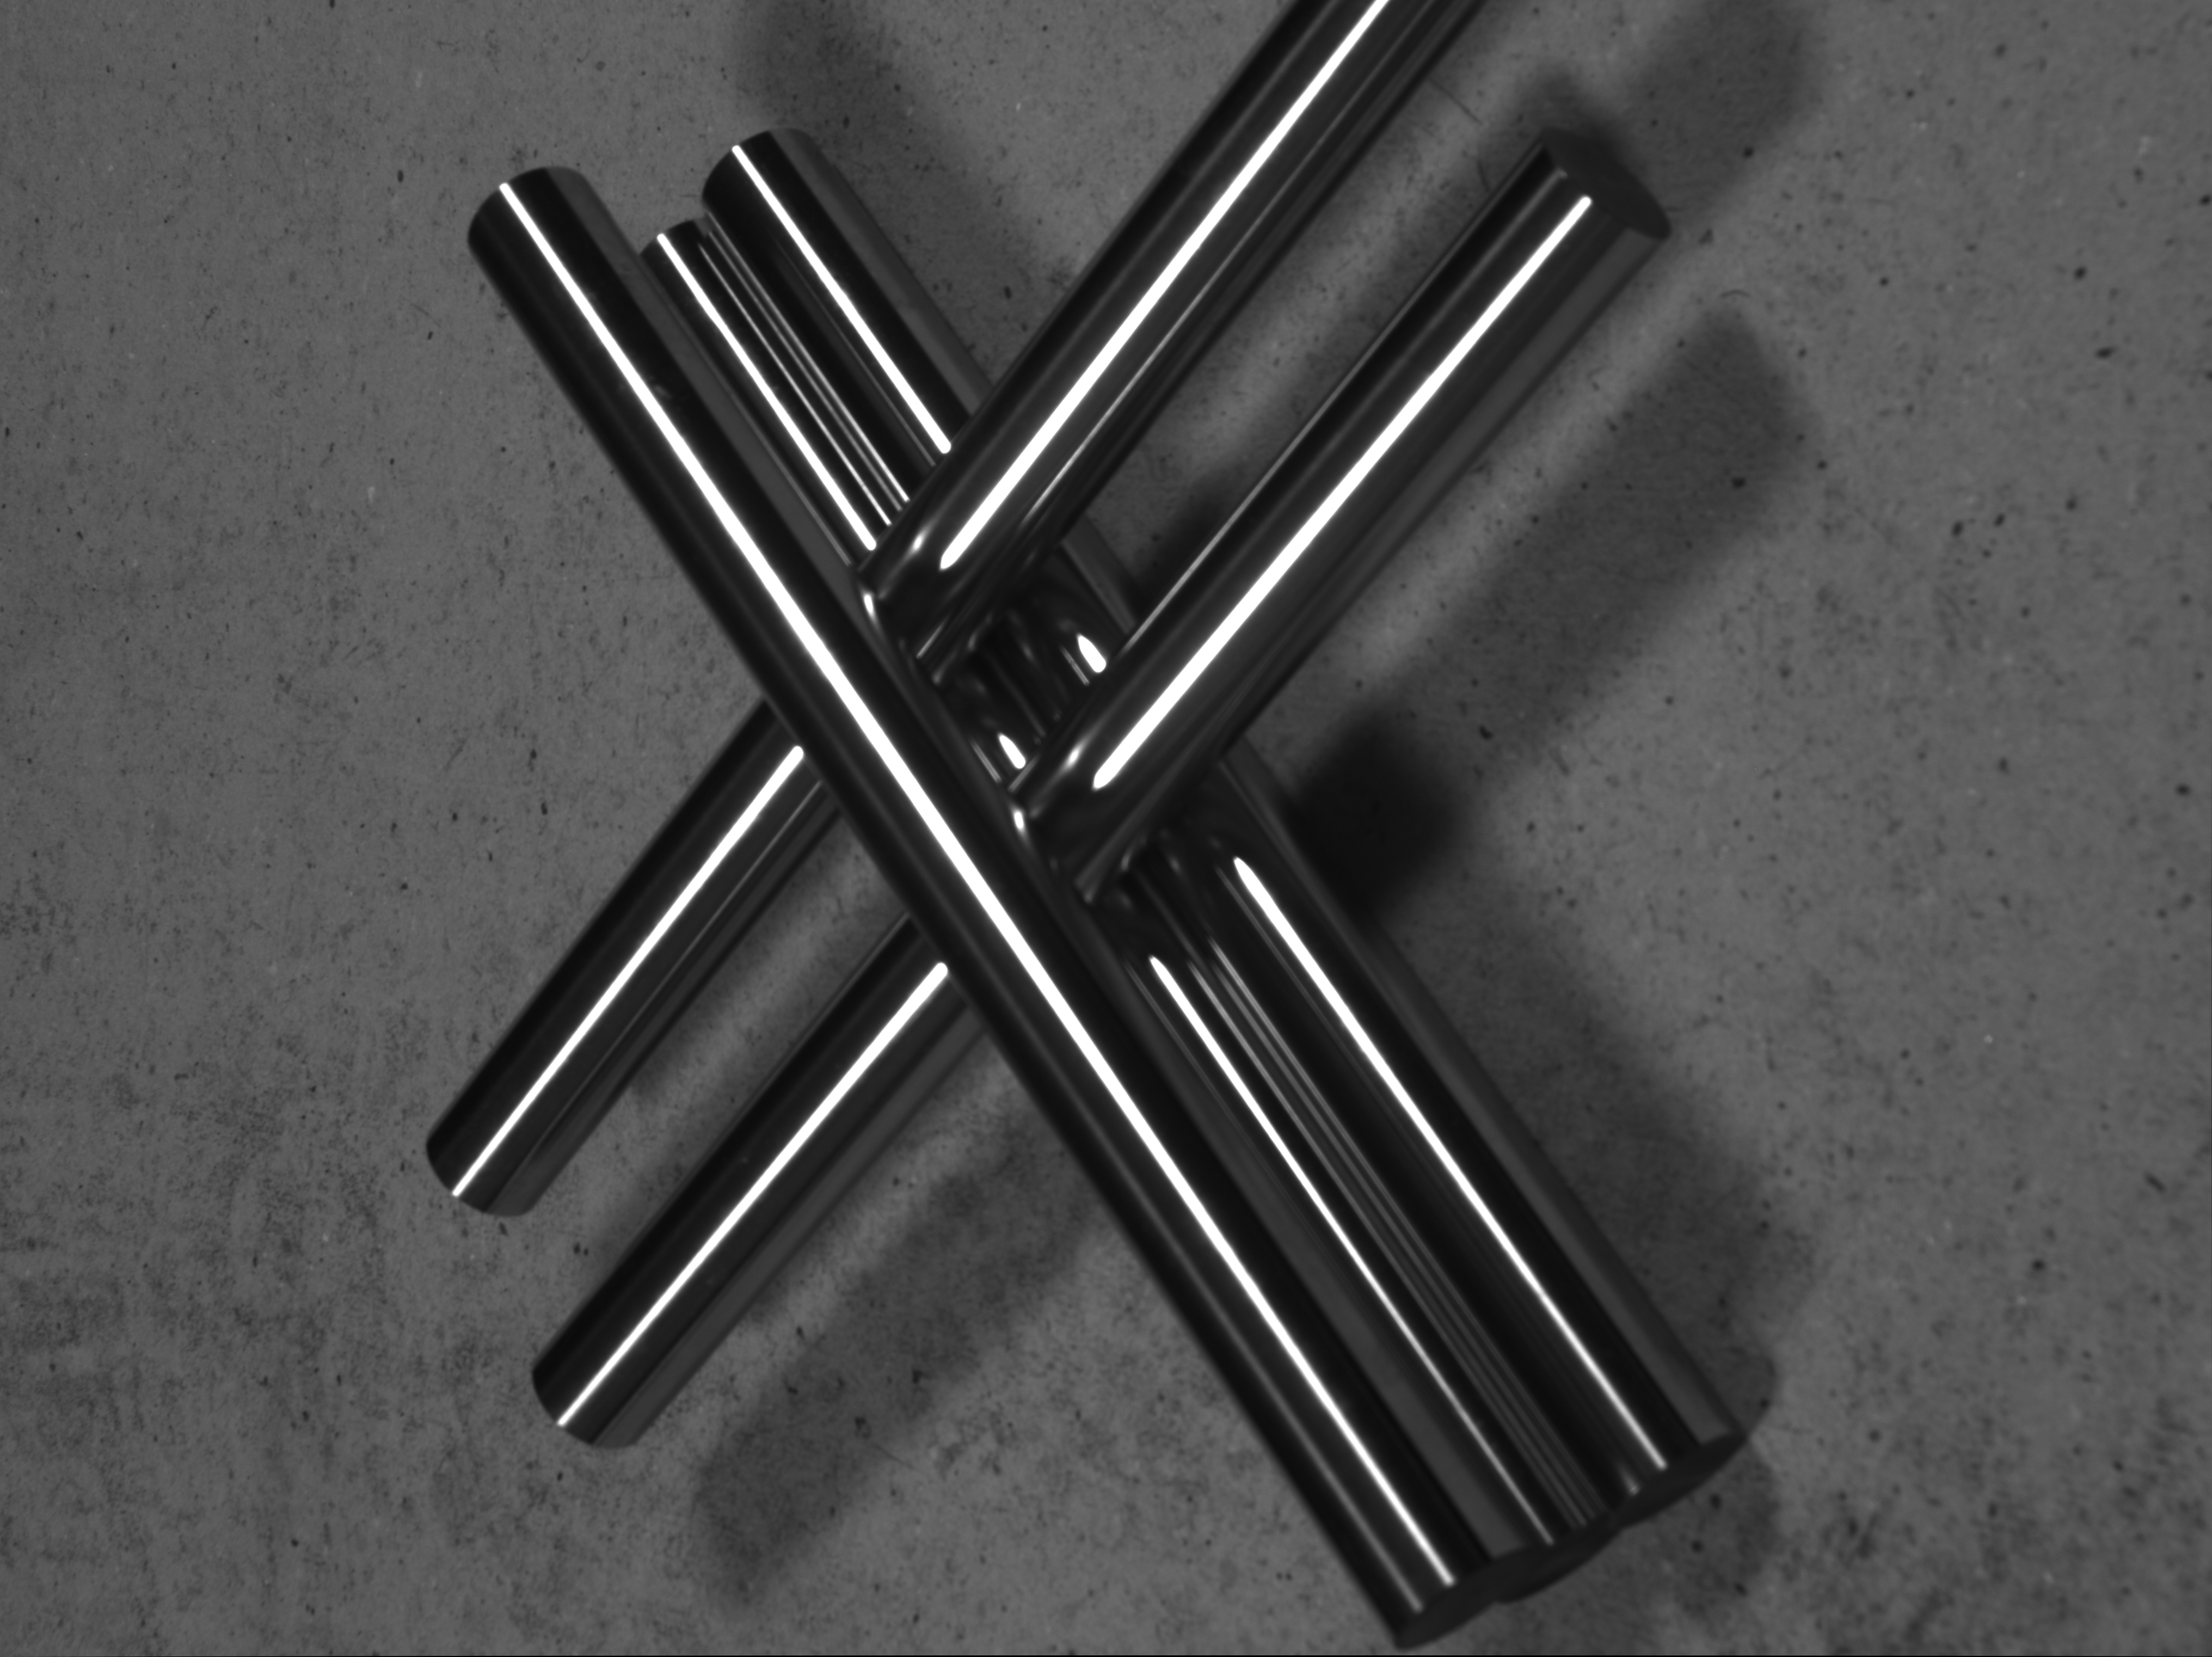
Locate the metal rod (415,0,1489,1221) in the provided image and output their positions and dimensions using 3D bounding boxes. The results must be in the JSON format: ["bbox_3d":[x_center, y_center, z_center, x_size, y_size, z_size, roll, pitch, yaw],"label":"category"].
[{"bbox_3d":[-0.036,-0.035,0.633,0.300,0.025,0.025,-50,61,28],"label":"metal rod"}]

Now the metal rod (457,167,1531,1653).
[{"bbox_3d":[-0.027,0.001,0.594,0.025,0.025,0.299,-50,61,28],"label":"metal rod"}]

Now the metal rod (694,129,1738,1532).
[{"bbox_3d":[0.010,-0.011,0.628,0.025,0.025,0.299,-49,61,28],"label":"metal rod"}]

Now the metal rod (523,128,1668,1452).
[{"bbox_3d":[-0.012,0.005,0.614,0.300,0.025,0.025,-50,61,28],"label":"metal rod"}]

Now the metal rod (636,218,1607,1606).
[{"bbox_3d":[-0.006,0.004,0.641,0.025,0.025,0.299,-49,61,28],"label":"metal rod"}]
